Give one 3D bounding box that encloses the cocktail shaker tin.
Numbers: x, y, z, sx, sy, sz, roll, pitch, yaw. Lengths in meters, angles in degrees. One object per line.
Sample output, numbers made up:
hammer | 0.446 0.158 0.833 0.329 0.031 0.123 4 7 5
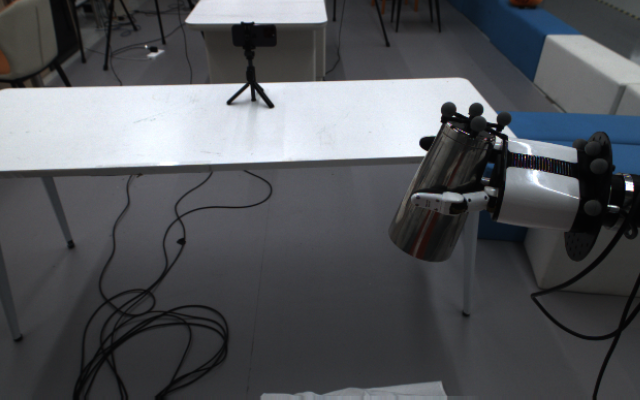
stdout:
cocktail shaker tin | 0.161 -0.018 0.624 0.093 0.170 0.093 12 29 -7
